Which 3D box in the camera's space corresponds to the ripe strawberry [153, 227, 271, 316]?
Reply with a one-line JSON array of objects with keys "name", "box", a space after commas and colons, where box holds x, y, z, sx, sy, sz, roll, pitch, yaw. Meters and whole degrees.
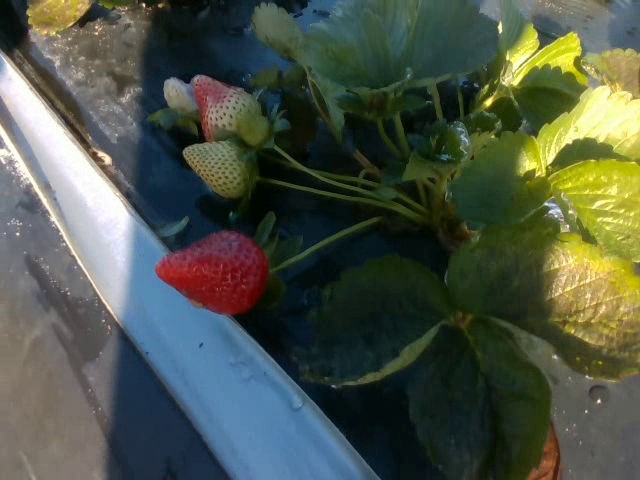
[{"name": "ripe strawberry", "box": [-0.040, 0.010, 0.211, 0.045, 0.038, 0.036, 14, 29, -49]}]
